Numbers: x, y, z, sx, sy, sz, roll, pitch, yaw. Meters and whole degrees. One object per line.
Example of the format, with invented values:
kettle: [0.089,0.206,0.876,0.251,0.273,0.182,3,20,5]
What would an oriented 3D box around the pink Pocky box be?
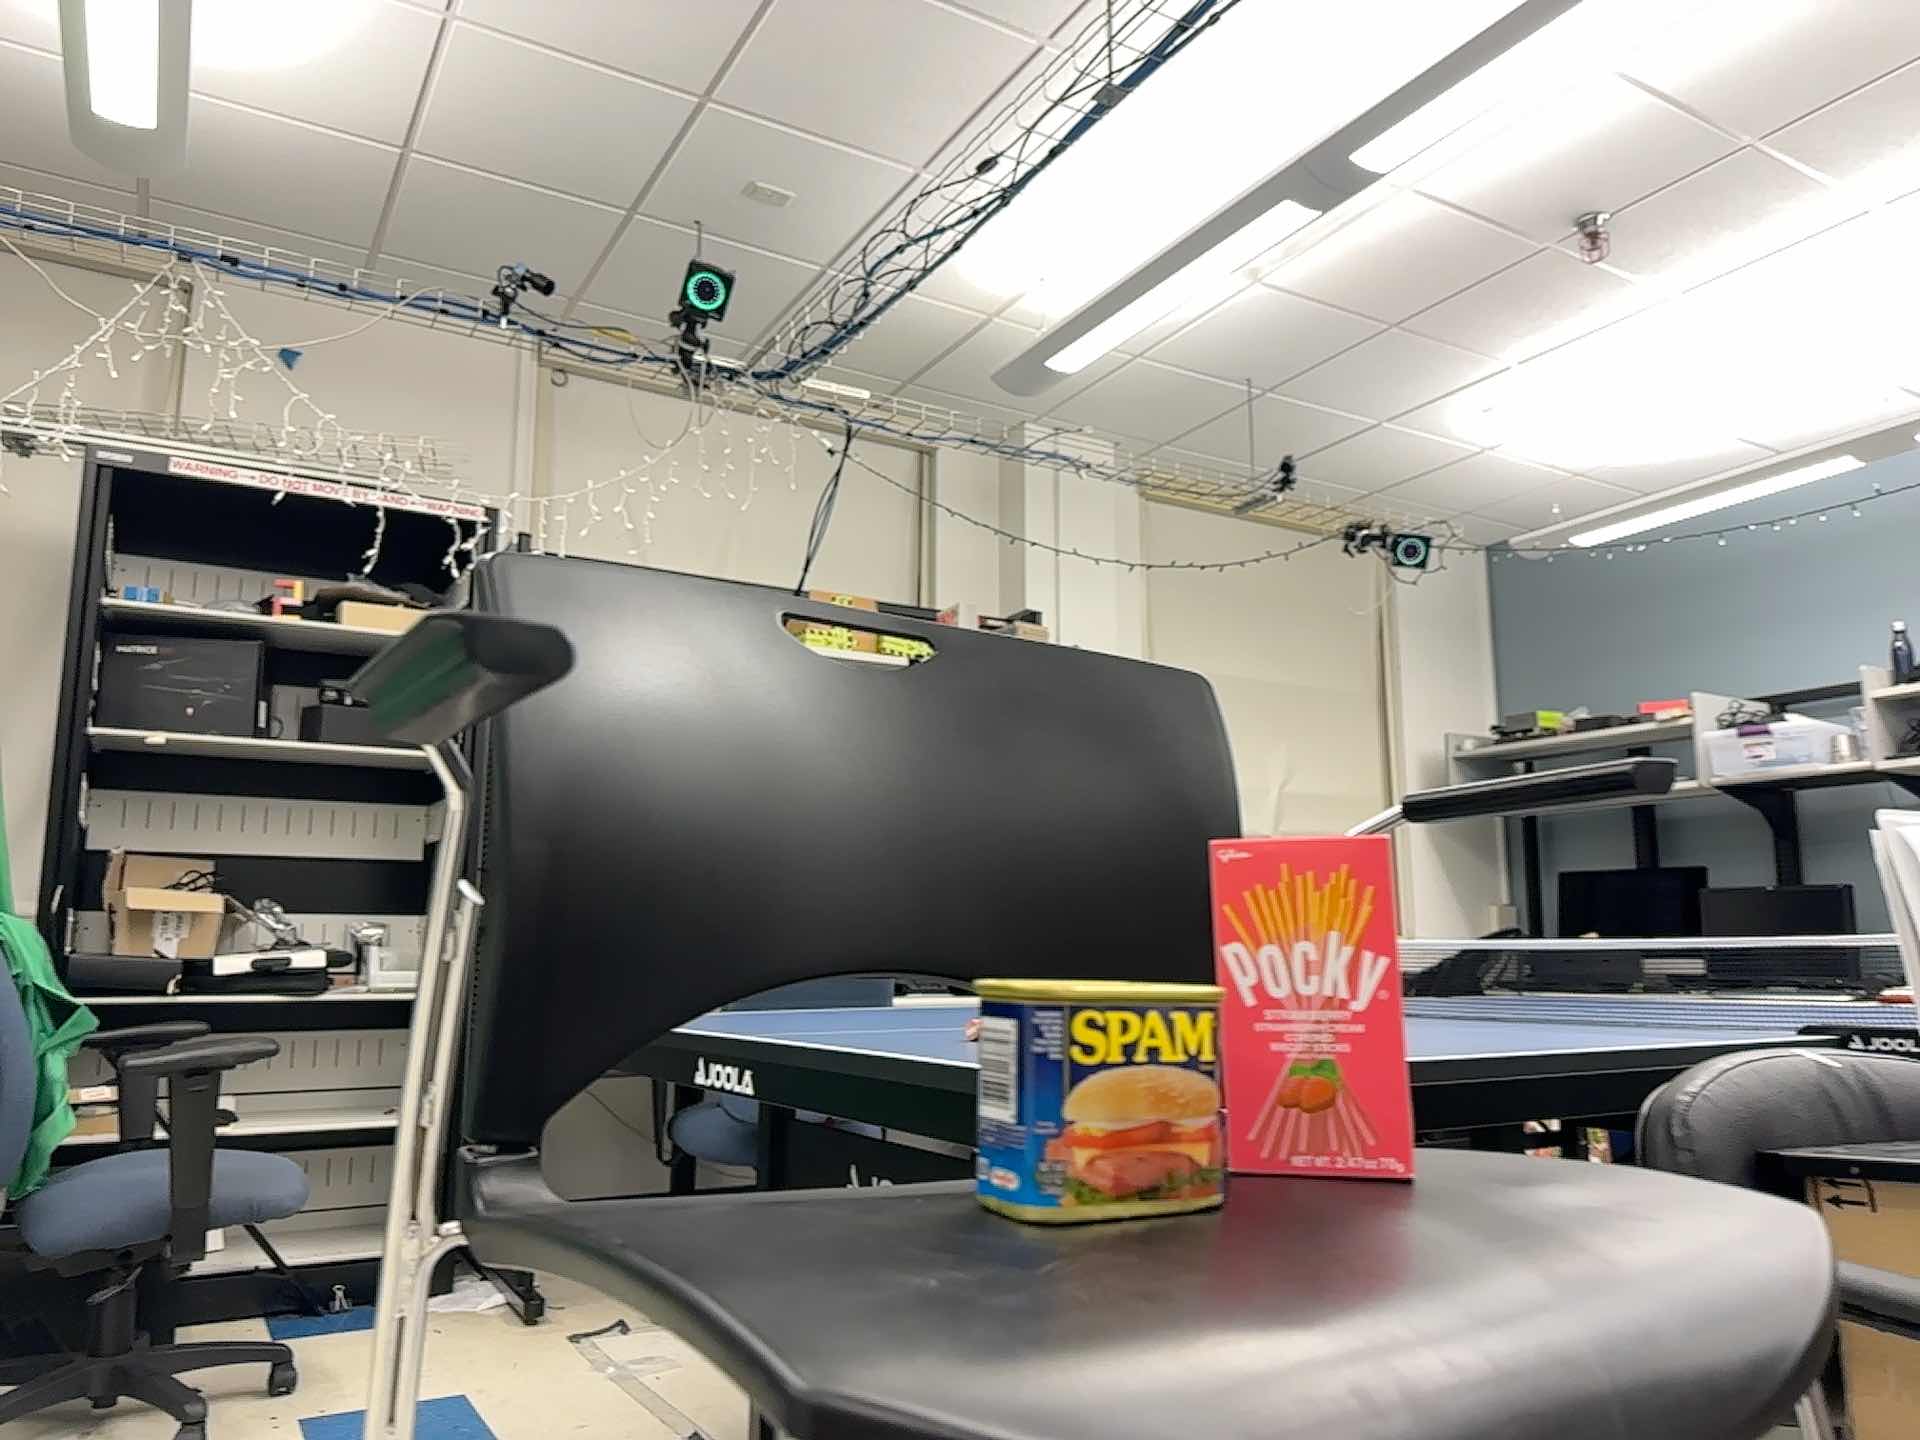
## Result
pink Pocky box: [0.164,0.131,0.624,0.084,0.155,0.029,-5,-8,18]

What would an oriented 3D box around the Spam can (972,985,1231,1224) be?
Spam can: [0.056,0.148,0.533,0.100,0.083,0.056,5,-10,-25]
